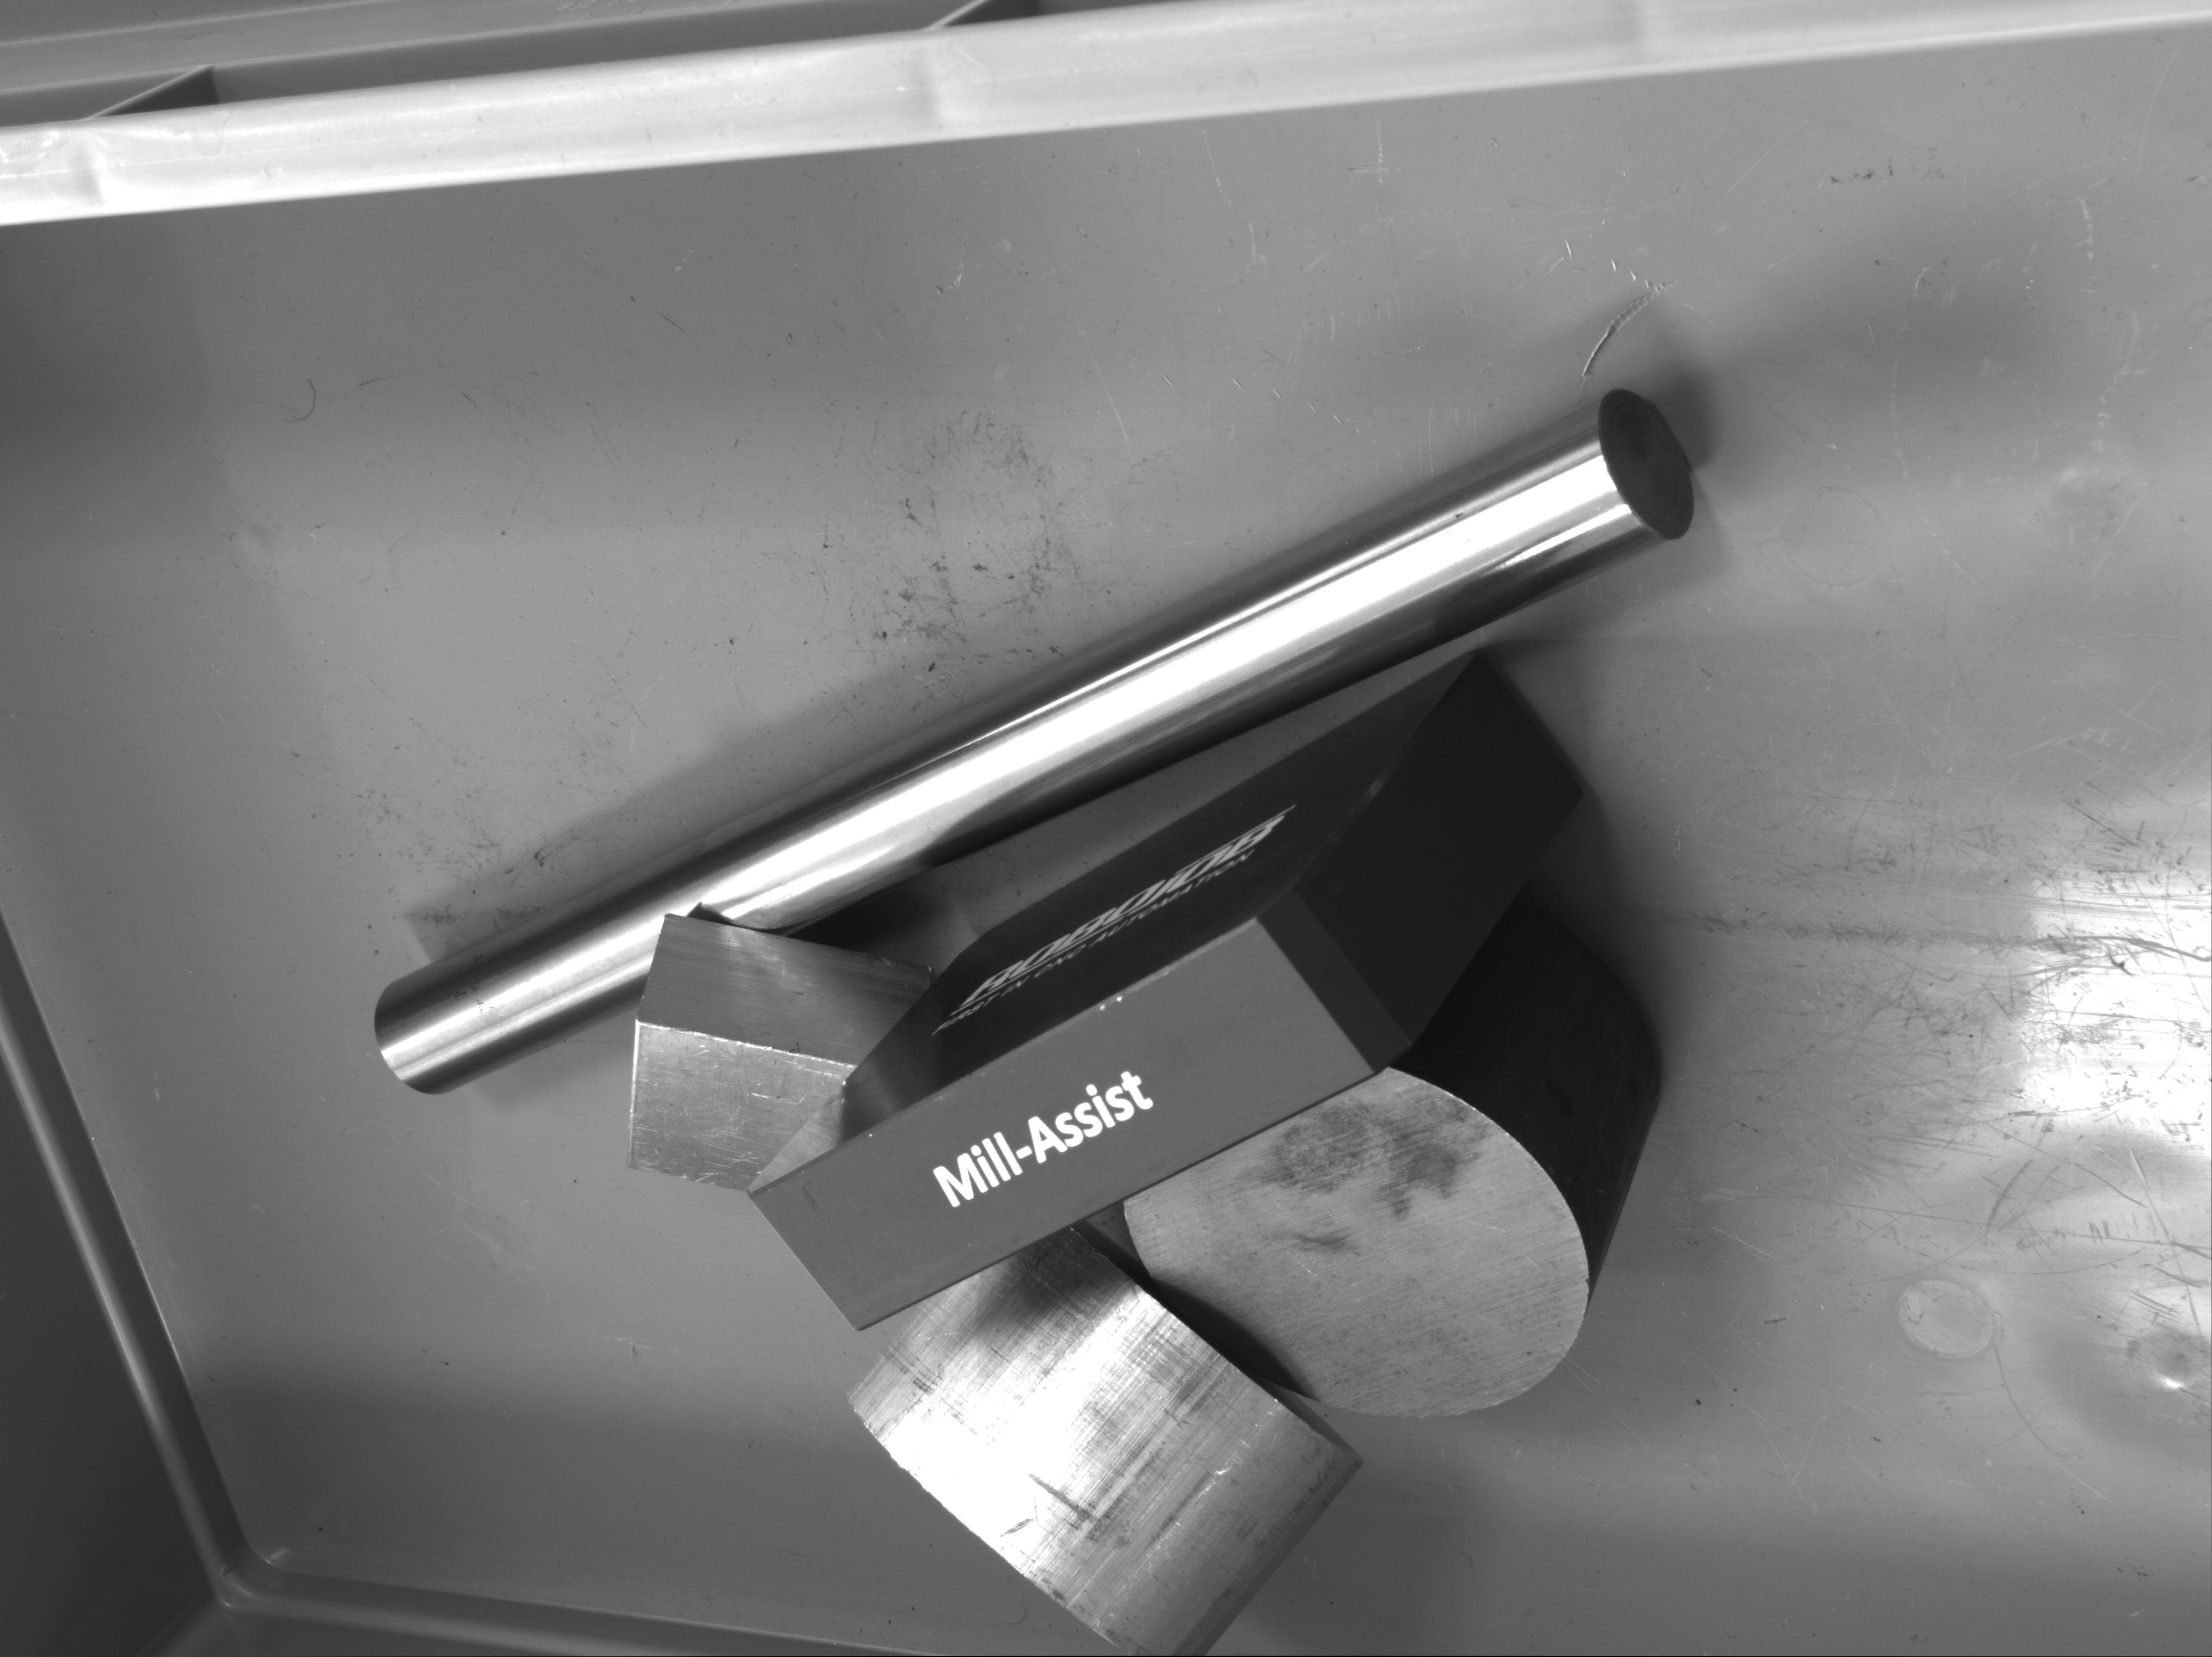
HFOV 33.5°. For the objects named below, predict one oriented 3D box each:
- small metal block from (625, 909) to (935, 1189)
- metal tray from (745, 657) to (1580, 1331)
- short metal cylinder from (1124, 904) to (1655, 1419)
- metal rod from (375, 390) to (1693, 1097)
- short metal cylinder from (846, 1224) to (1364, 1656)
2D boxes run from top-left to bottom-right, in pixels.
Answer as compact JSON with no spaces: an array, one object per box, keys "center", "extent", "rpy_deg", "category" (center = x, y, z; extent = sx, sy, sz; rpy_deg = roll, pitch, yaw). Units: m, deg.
[{"center":[-0.061,0.045,0.685],"extent":[0.050,0.025,0.050],"rpy_deg":[12,142,-1],"category":"small metal block"},{"center":[0.009,0.028,0.612],"extent":[0.130,0.090,0.030],"rpy_deg":[-30,101,38],"category":"metal tray"},{"center":[0.049,0.054,0.625],"extent":[0.080,0.050,0.080],"rpy_deg":[12,130,14],"category":"short metal cylinder"},{"center":[-0.027,-0.007,0.652],"extent":[0.299,0.025,0.025],"rpy_deg":[-24,105,36],"category":"metal rod"},{"center":[0.000,0.108,0.663],"extent":[0.080,0.080,0.050],"rpy_deg":[40,88,1],"category":"short metal cylinder"}]
